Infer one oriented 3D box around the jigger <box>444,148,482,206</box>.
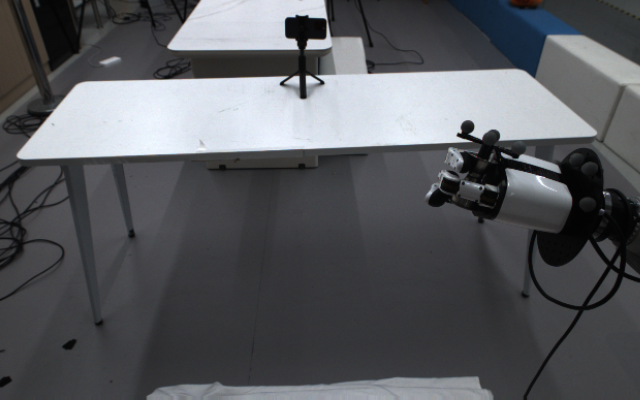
[{"bbox_3d":[0.201,-0.025,0.638,0.043,0.071,0.043,18,17,-6],"label":"jigger"}]
